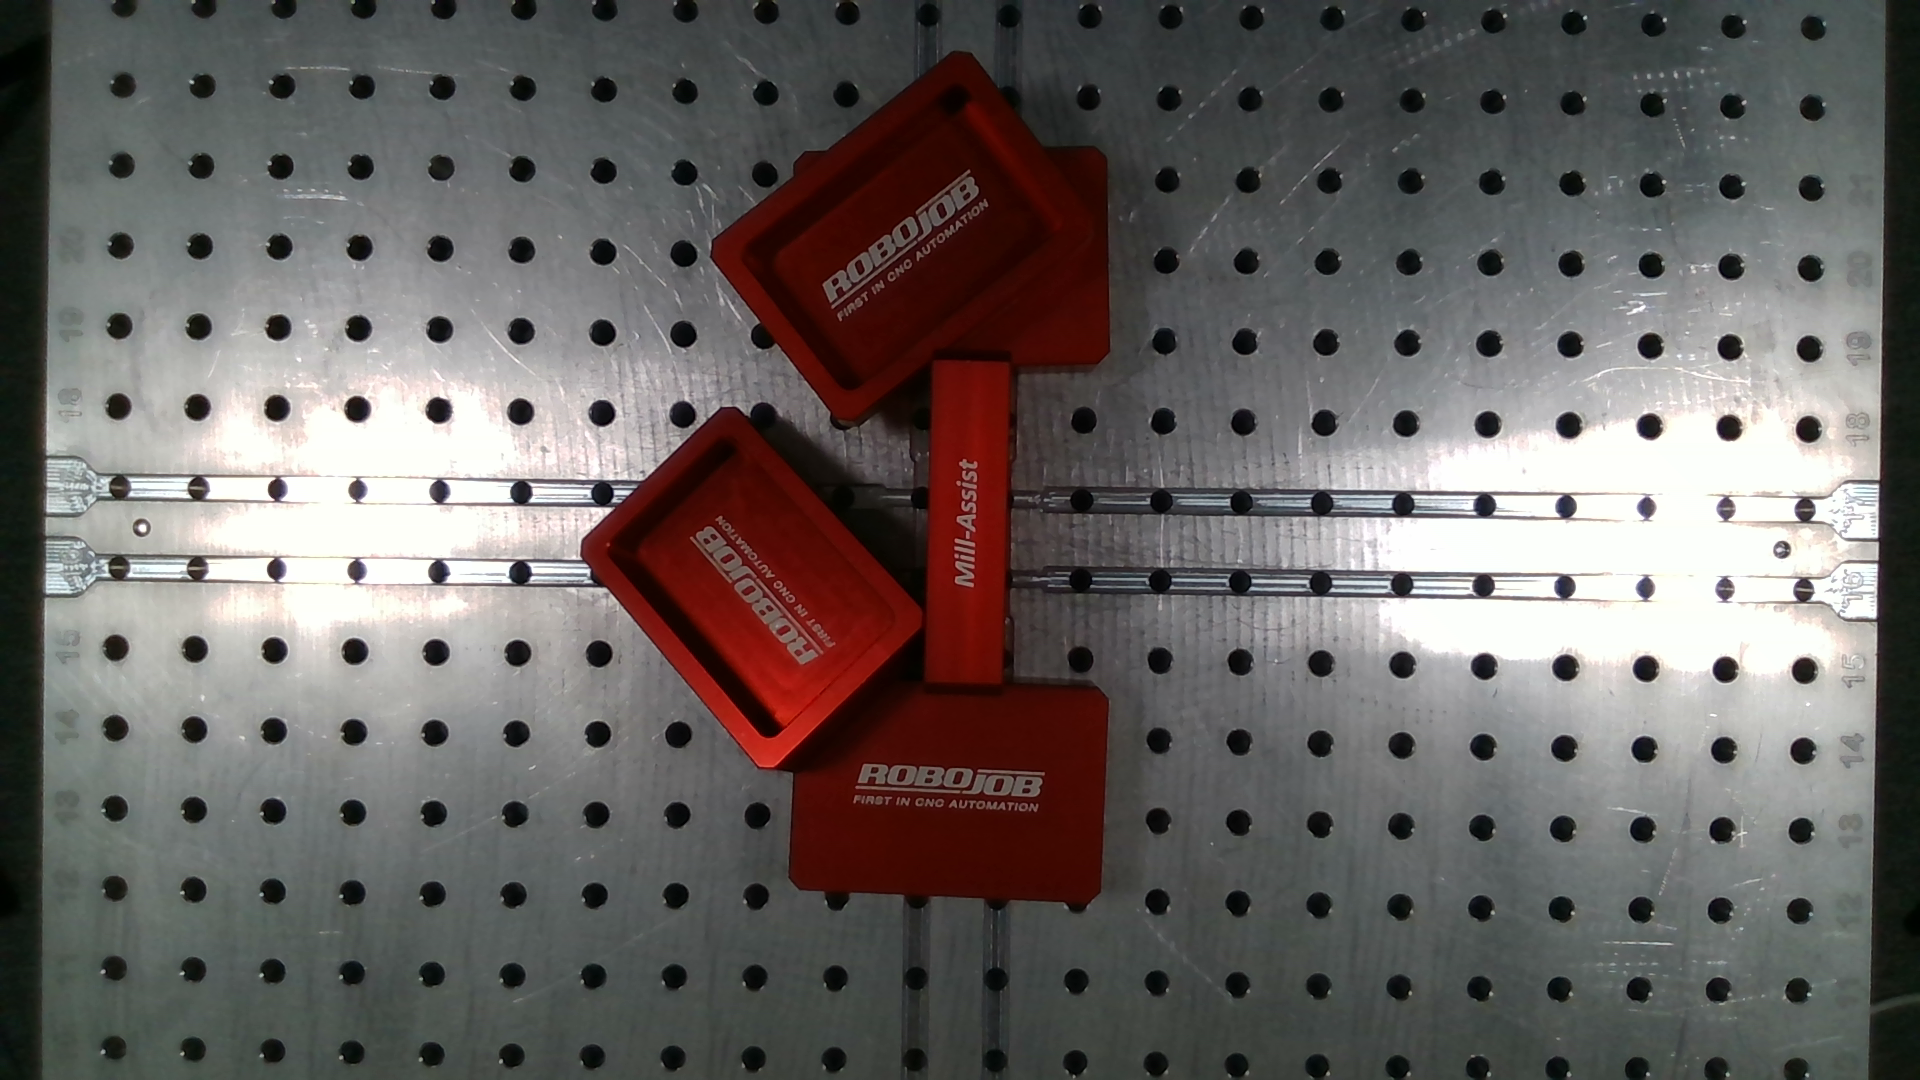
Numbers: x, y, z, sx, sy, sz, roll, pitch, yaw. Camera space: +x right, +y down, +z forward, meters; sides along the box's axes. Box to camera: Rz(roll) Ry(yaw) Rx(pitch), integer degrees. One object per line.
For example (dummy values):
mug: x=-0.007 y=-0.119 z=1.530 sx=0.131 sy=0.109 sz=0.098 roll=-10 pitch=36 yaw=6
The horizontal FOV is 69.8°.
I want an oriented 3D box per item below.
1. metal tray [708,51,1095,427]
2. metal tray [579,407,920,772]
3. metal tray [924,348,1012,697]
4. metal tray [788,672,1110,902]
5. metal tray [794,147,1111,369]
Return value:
metal tray: x=-0.023 y=-0.119 z=0.554 sx=0.130 sy=0.030 sz=0.090 roll=-38 pitch=91 yaw=1
metal tray: x=-0.084 y=0.020 z=0.568 sx=0.090 sy=0.030 sz=0.130 roll=-44 pitch=73 yaw=1
metal tray: x=0.003 y=-0.007 z=0.556 sx=0.030 sy=0.090 sz=0.130 roll=1 pitch=90 yaw=0
metal tray: x=-0.005 y=0.103 z=0.587 sx=0.130 sy=0.030 sz=0.090 roll=3 pitch=90 yaw=0
metal tray: x=-0.003 y=-0.117 z=0.586 sx=0.130 sy=0.030 sz=0.090 roll=-1 pitch=90 yaw=1
